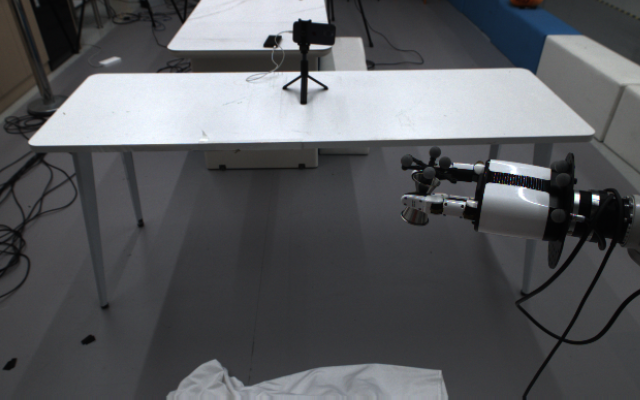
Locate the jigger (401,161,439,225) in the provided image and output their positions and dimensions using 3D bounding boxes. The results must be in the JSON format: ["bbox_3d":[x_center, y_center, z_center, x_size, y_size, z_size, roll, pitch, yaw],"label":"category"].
[{"bbox_3d":[0.148,-0.002,0.718,0.043,0.071,0.043,9,30,-5],"label":"jigger"}]
